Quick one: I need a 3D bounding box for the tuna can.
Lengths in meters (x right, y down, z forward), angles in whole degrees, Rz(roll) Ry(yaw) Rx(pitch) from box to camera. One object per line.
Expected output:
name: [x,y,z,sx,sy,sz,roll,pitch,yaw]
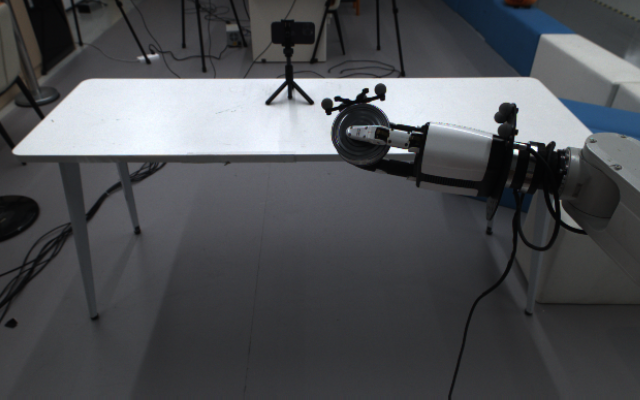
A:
tuna can: [0.063,-0.089,0.688,0.085,0.085,0.034,13,-6,15]
